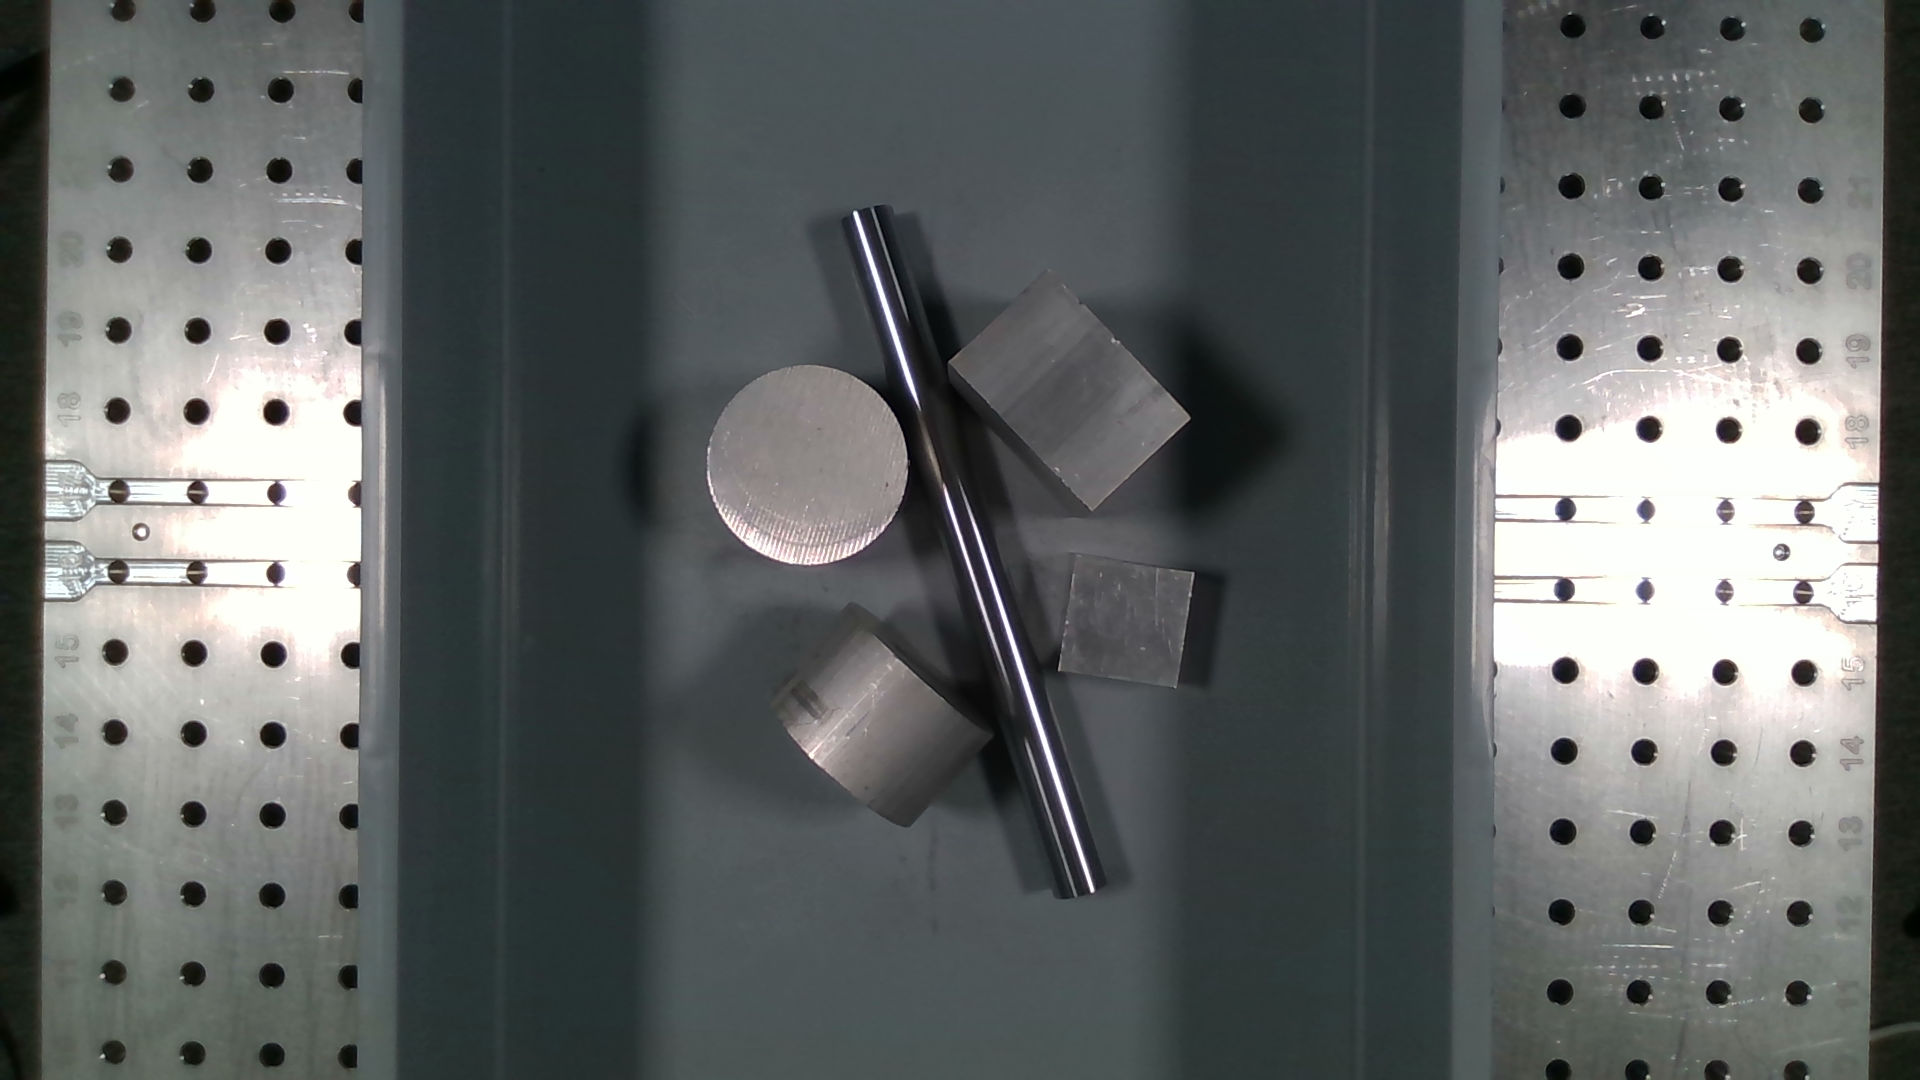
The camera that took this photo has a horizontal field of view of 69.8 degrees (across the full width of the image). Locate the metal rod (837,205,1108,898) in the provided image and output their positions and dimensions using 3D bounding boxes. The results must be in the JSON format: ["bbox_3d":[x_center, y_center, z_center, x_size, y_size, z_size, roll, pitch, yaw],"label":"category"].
[{"bbox_3d":[0.005,0.005,0.586,0.025,0.025,0.300,-18,91,0],"label":"metal rod"}]

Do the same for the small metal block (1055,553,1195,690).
[{"bbox_3d":[0.070,0.034,0.586,0.050,0.025,0.050,9,90,0],"label":"small metal block"}]

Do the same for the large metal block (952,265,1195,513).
[{"bbox_3d":[0.043,-0.057,0.559,0.050,0.080,0.080,-44,90,0],"label":"large metal block"}]

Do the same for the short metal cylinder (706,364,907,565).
[{"bbox_3d":[-0.061,-0.030,0.573,0.080,0.050,0.080,0,90,0],"label":"short metal cylinder"}]

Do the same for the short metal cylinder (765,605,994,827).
[{"bbox_3d":[-0.032,0.070,0.559,0.080,0.080,0.050,42,90,0],"label":"short metal cylinder"}]
